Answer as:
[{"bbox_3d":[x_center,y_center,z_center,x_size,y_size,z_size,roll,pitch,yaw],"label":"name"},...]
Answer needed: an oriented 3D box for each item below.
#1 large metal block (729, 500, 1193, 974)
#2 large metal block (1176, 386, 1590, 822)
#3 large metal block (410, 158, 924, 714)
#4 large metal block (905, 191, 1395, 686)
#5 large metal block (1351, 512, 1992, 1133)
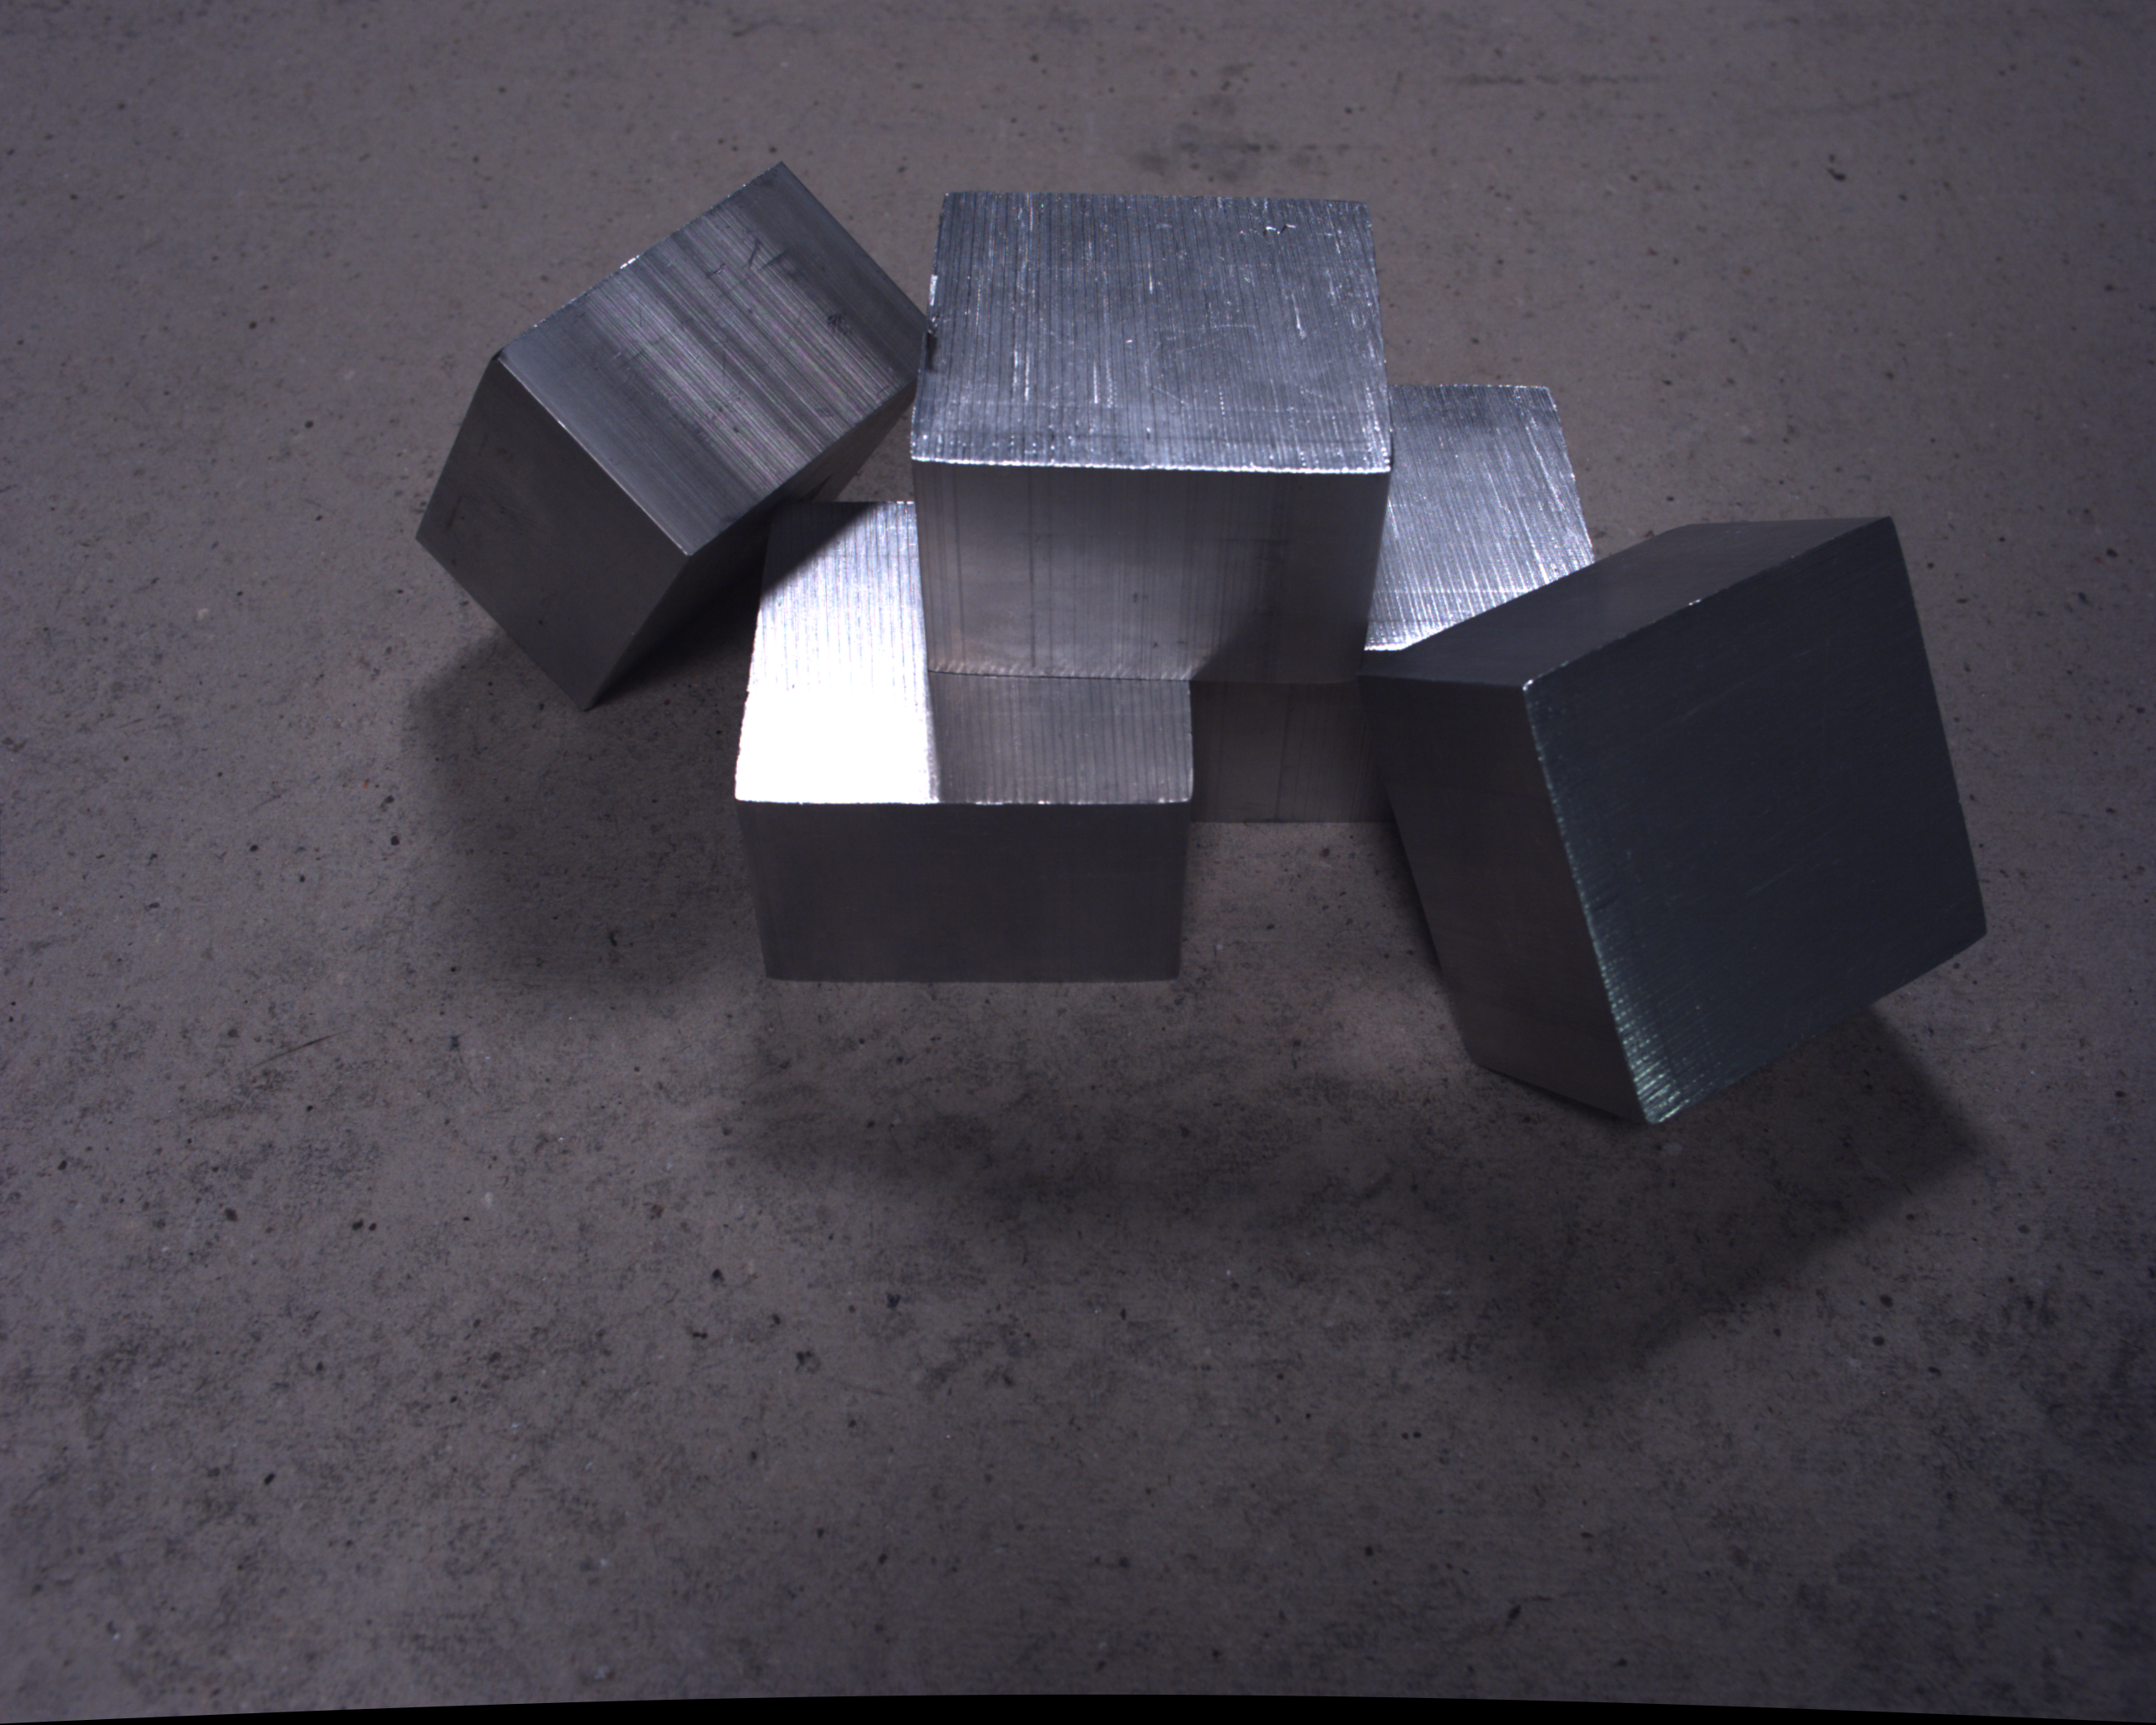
[{"bbox_3d":[-0.020,-0.025,0.407,0.081,0.050,0.080,0,50,0],"label":"large metal block"},{"bbox_3d":[0.060,-0.055,0.436,0.081,0.050,0.080,0,50,0],"label":"large metal block"},{"bbox_3d":[-0.083,-0.086,0.431,0.050,0.080,0.080,47,58,-6],"label":"large metal block"},{"bbox_3d":[0.013,-0.080,0.388,0.081,0.050,0.080,2,50,1],"label":"large metal block"},{"bbox_3d":[0.106,-0.010,0.370,0.081,0.080,0.050,-25,17,-20],"label":"large metal block"}]
